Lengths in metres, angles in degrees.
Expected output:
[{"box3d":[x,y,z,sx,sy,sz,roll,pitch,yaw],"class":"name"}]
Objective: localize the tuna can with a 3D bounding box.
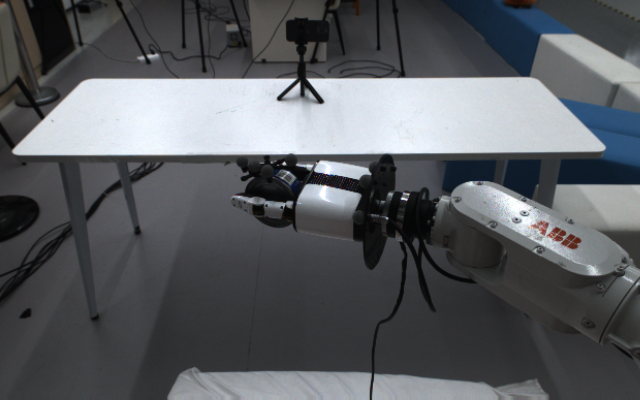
[{"box3d":[-0.063,-0.003,0.704,0.085,0.085,0.034,14,33,17],"class":"tuna can"}]
